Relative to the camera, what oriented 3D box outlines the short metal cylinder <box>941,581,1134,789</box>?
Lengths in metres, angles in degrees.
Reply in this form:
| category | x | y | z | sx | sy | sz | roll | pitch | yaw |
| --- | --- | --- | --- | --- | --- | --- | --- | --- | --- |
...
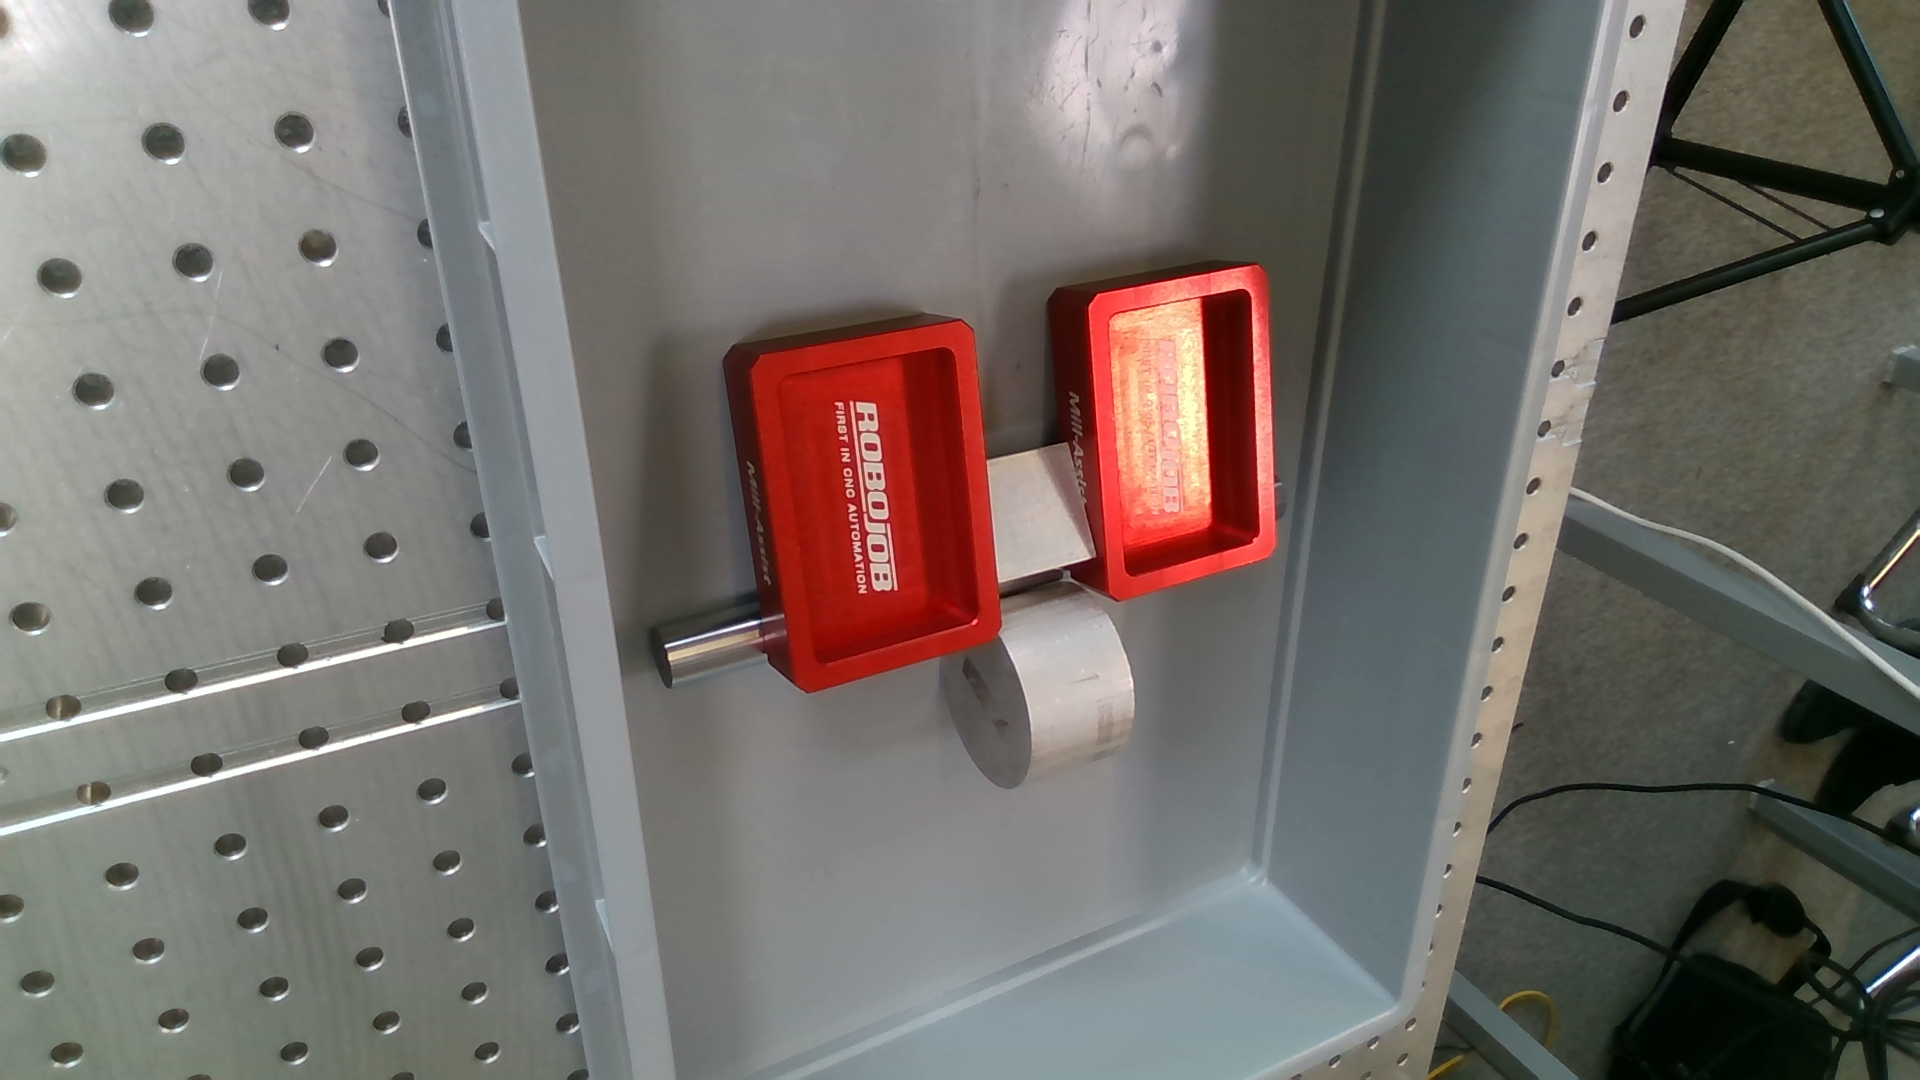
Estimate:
| category | x | y | z | sx | sy | sz | roll | pitch | yaw |
| --- | --- | --- | --- | --- | --- | --- | --- | --- | --- |
| short metal cylinder | 0.032 | 0.062 | 0.598 | 0.050 | 0.080 | 0.080 | -14 | 122 | -25 |

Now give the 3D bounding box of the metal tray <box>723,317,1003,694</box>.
| category | x | y | z | sx | sy | sz | roll | pitch | yaw |
| --- | --- | --- | --- | --- | --- | --- | --- | --- | --- |
| metal tray | -0.035 | -0.015 | 0.529 | 0.090 | 0.030 | 0.130 | -14 | 109 | -25 |

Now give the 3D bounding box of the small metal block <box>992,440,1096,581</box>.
| category | x | y | z | sx | sy | sz | roll | pitch | yaw |
| --- | --- | --- | --- | --- | --- | --- | --- | --- | --- |
| small metal block | 0.024 | -0.011 | 0.575 | 0.050 | 0.025 | 0.050 | -14 | 90 | -25 |

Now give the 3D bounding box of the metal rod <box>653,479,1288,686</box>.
| category | x | y | z | sx | sy | sz | roll | pitch | yaw |
| --- | --- | --- | --- | --- | --- | --- | --- | --- | --- |
| metal rod | 0.016 | 0.012 | 0.596 | 0.300 | 0.025 | 0.025 | -14 | 121 | -25 |

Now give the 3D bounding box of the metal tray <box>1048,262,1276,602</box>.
| category | x | y | z | sx | sy | sz | roll | pitch | yaw |
| --- | --- | --- | --- | --- | --- | --- | --- | --- | --- |
| metal tray | 0.088 | -0.048 | 0.587 | 0.090 | 0.030 | 0.130 | -14 | 109 | -25 |
